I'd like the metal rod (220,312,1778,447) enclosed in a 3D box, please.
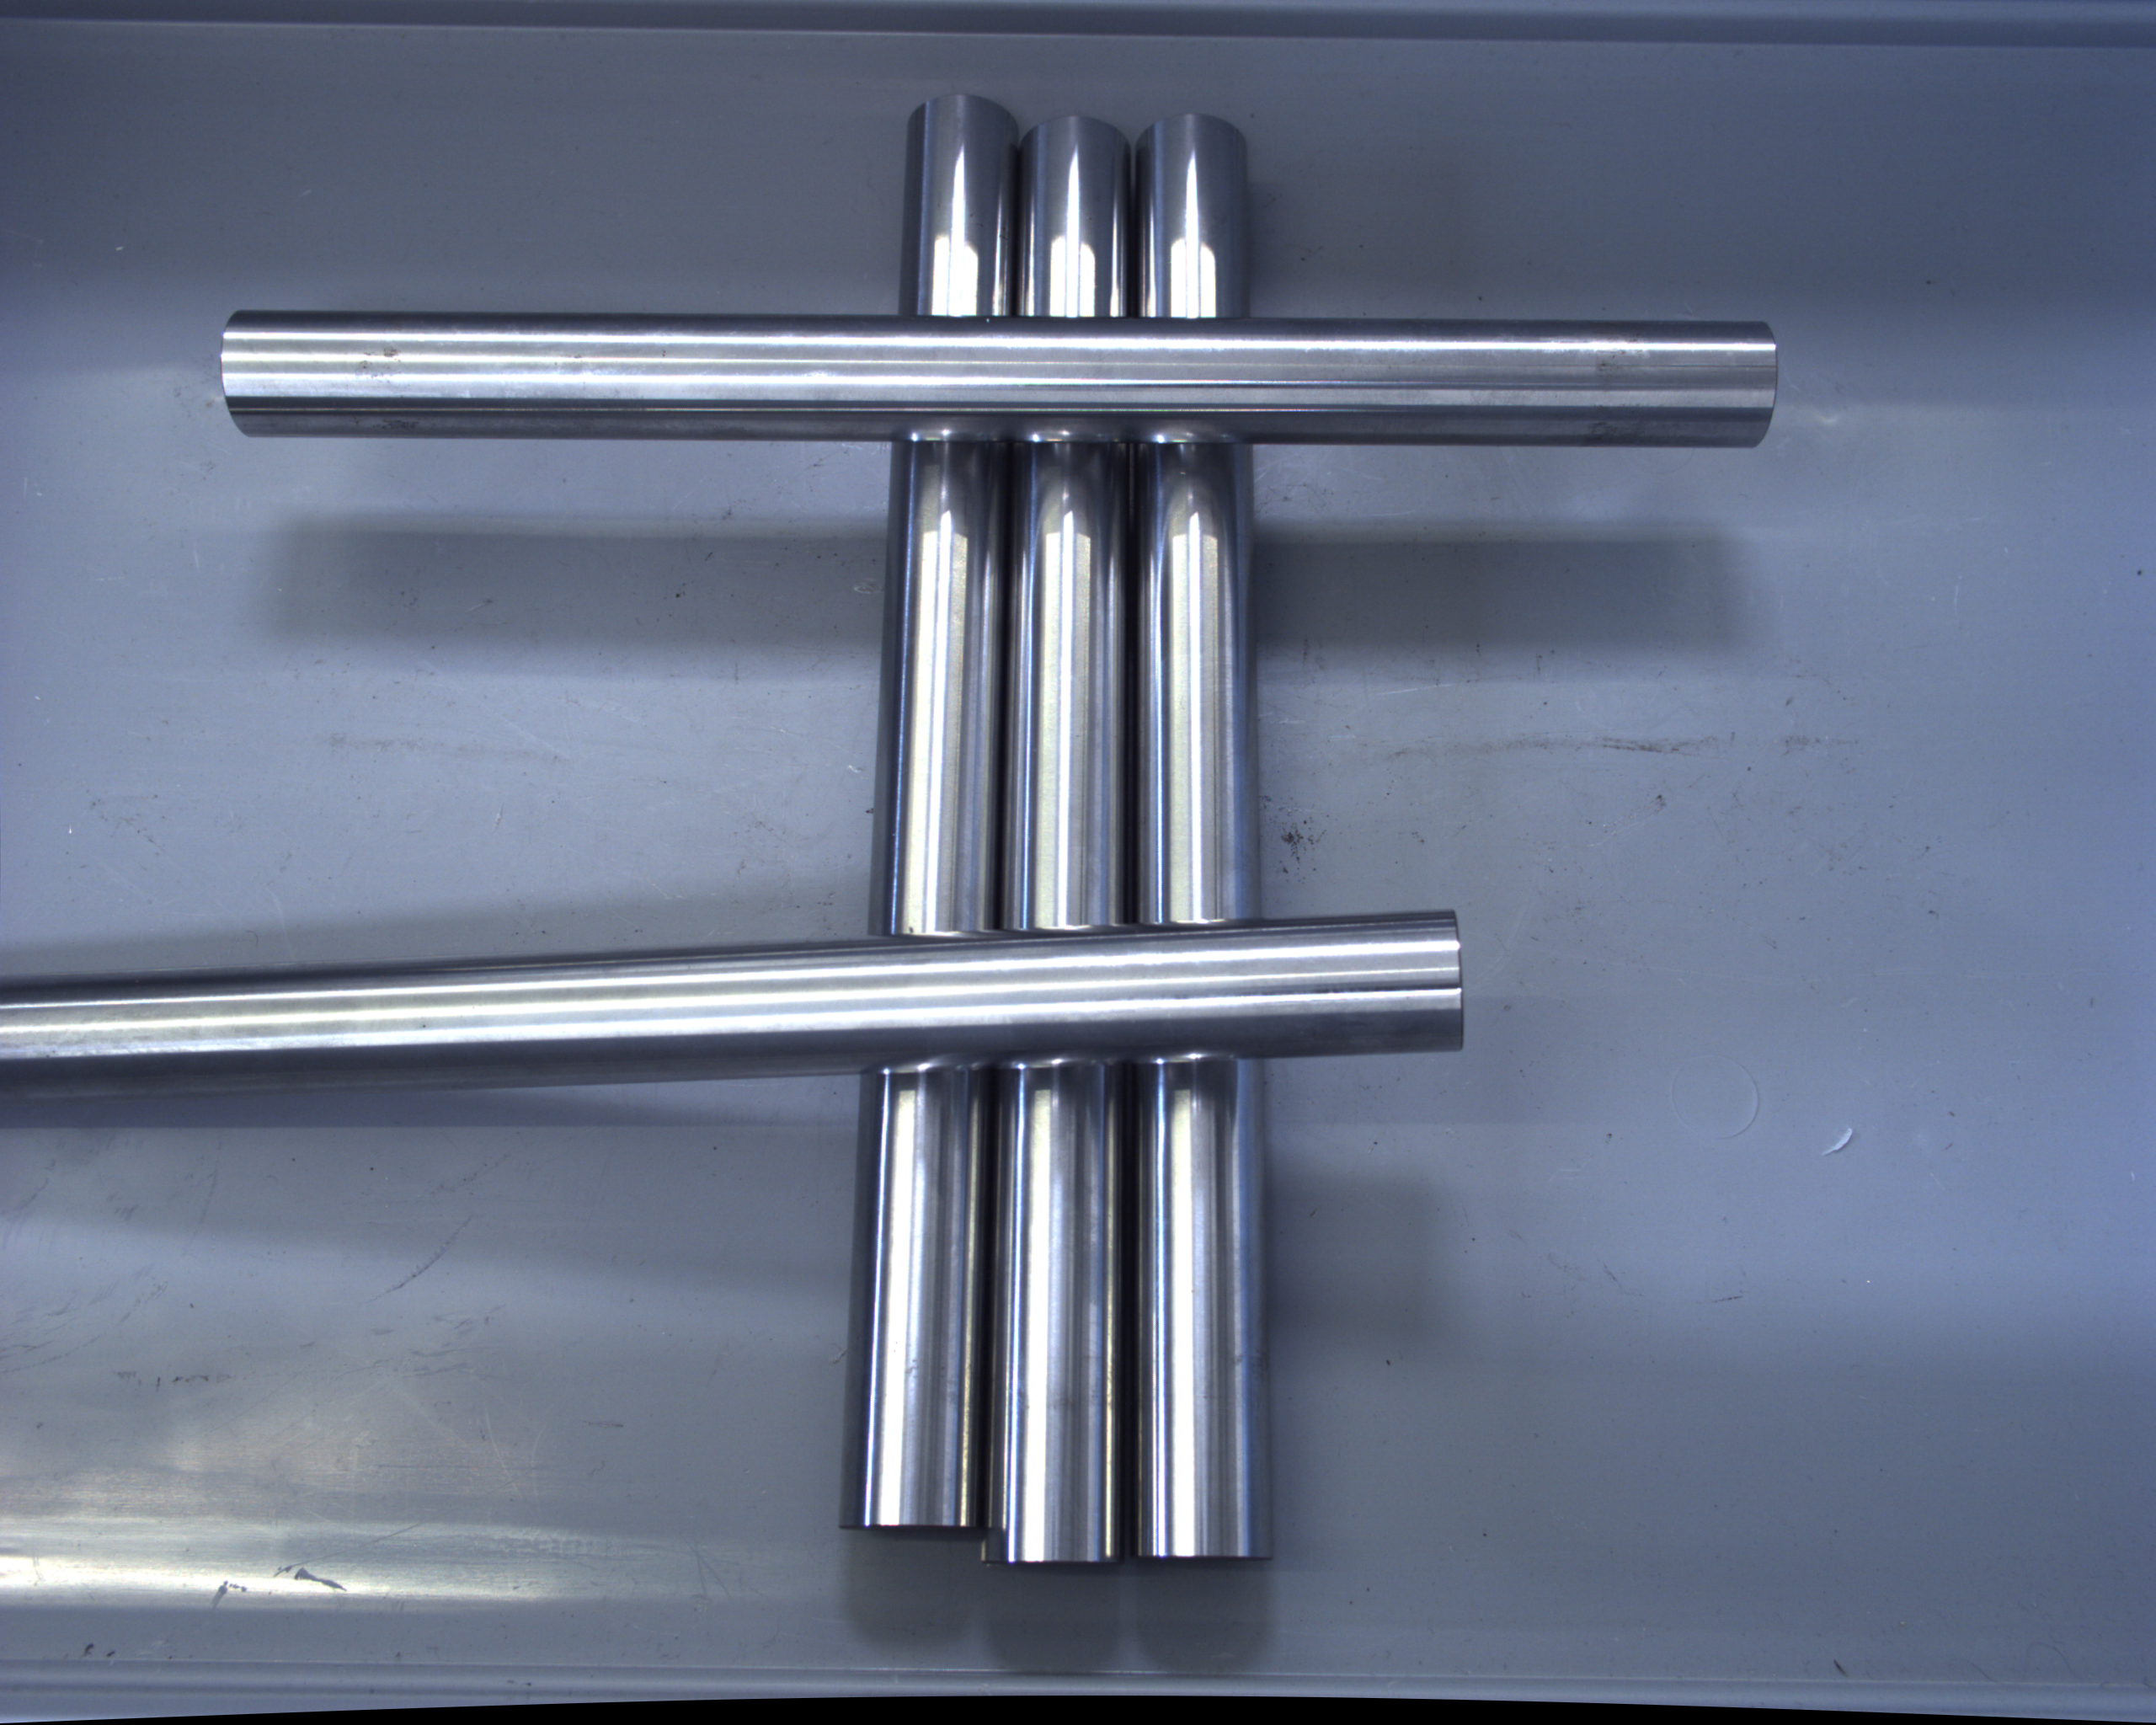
[{"bbox_3d":[-0.015,-0.096,0.417,0.302,0.025,0.025,0,70,0],"label":"metal rod"}]

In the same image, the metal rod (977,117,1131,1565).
[{"bbox_3d":[-0.003,-0.018,0.415,0.025,0.025,0.299,1,70,0],"label":"metal rod"}]

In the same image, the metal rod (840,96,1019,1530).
[{"bbox_3d":[-0.027,-0.023,0.417,0.025,0.025,0.299,1,70,0],"label":"metal rod"}]

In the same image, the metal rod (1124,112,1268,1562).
[{"bbox_3d":[0.023,-0.019,0.415,0.025,0.025,0.299,1,70,0],"label":"metal rod"}]

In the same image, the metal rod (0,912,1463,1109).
[{"bbox_3d":[-0.084,0.028,0.378,0.302,0.025,0.025,-3,70,6],"label":"metal rod"}]
